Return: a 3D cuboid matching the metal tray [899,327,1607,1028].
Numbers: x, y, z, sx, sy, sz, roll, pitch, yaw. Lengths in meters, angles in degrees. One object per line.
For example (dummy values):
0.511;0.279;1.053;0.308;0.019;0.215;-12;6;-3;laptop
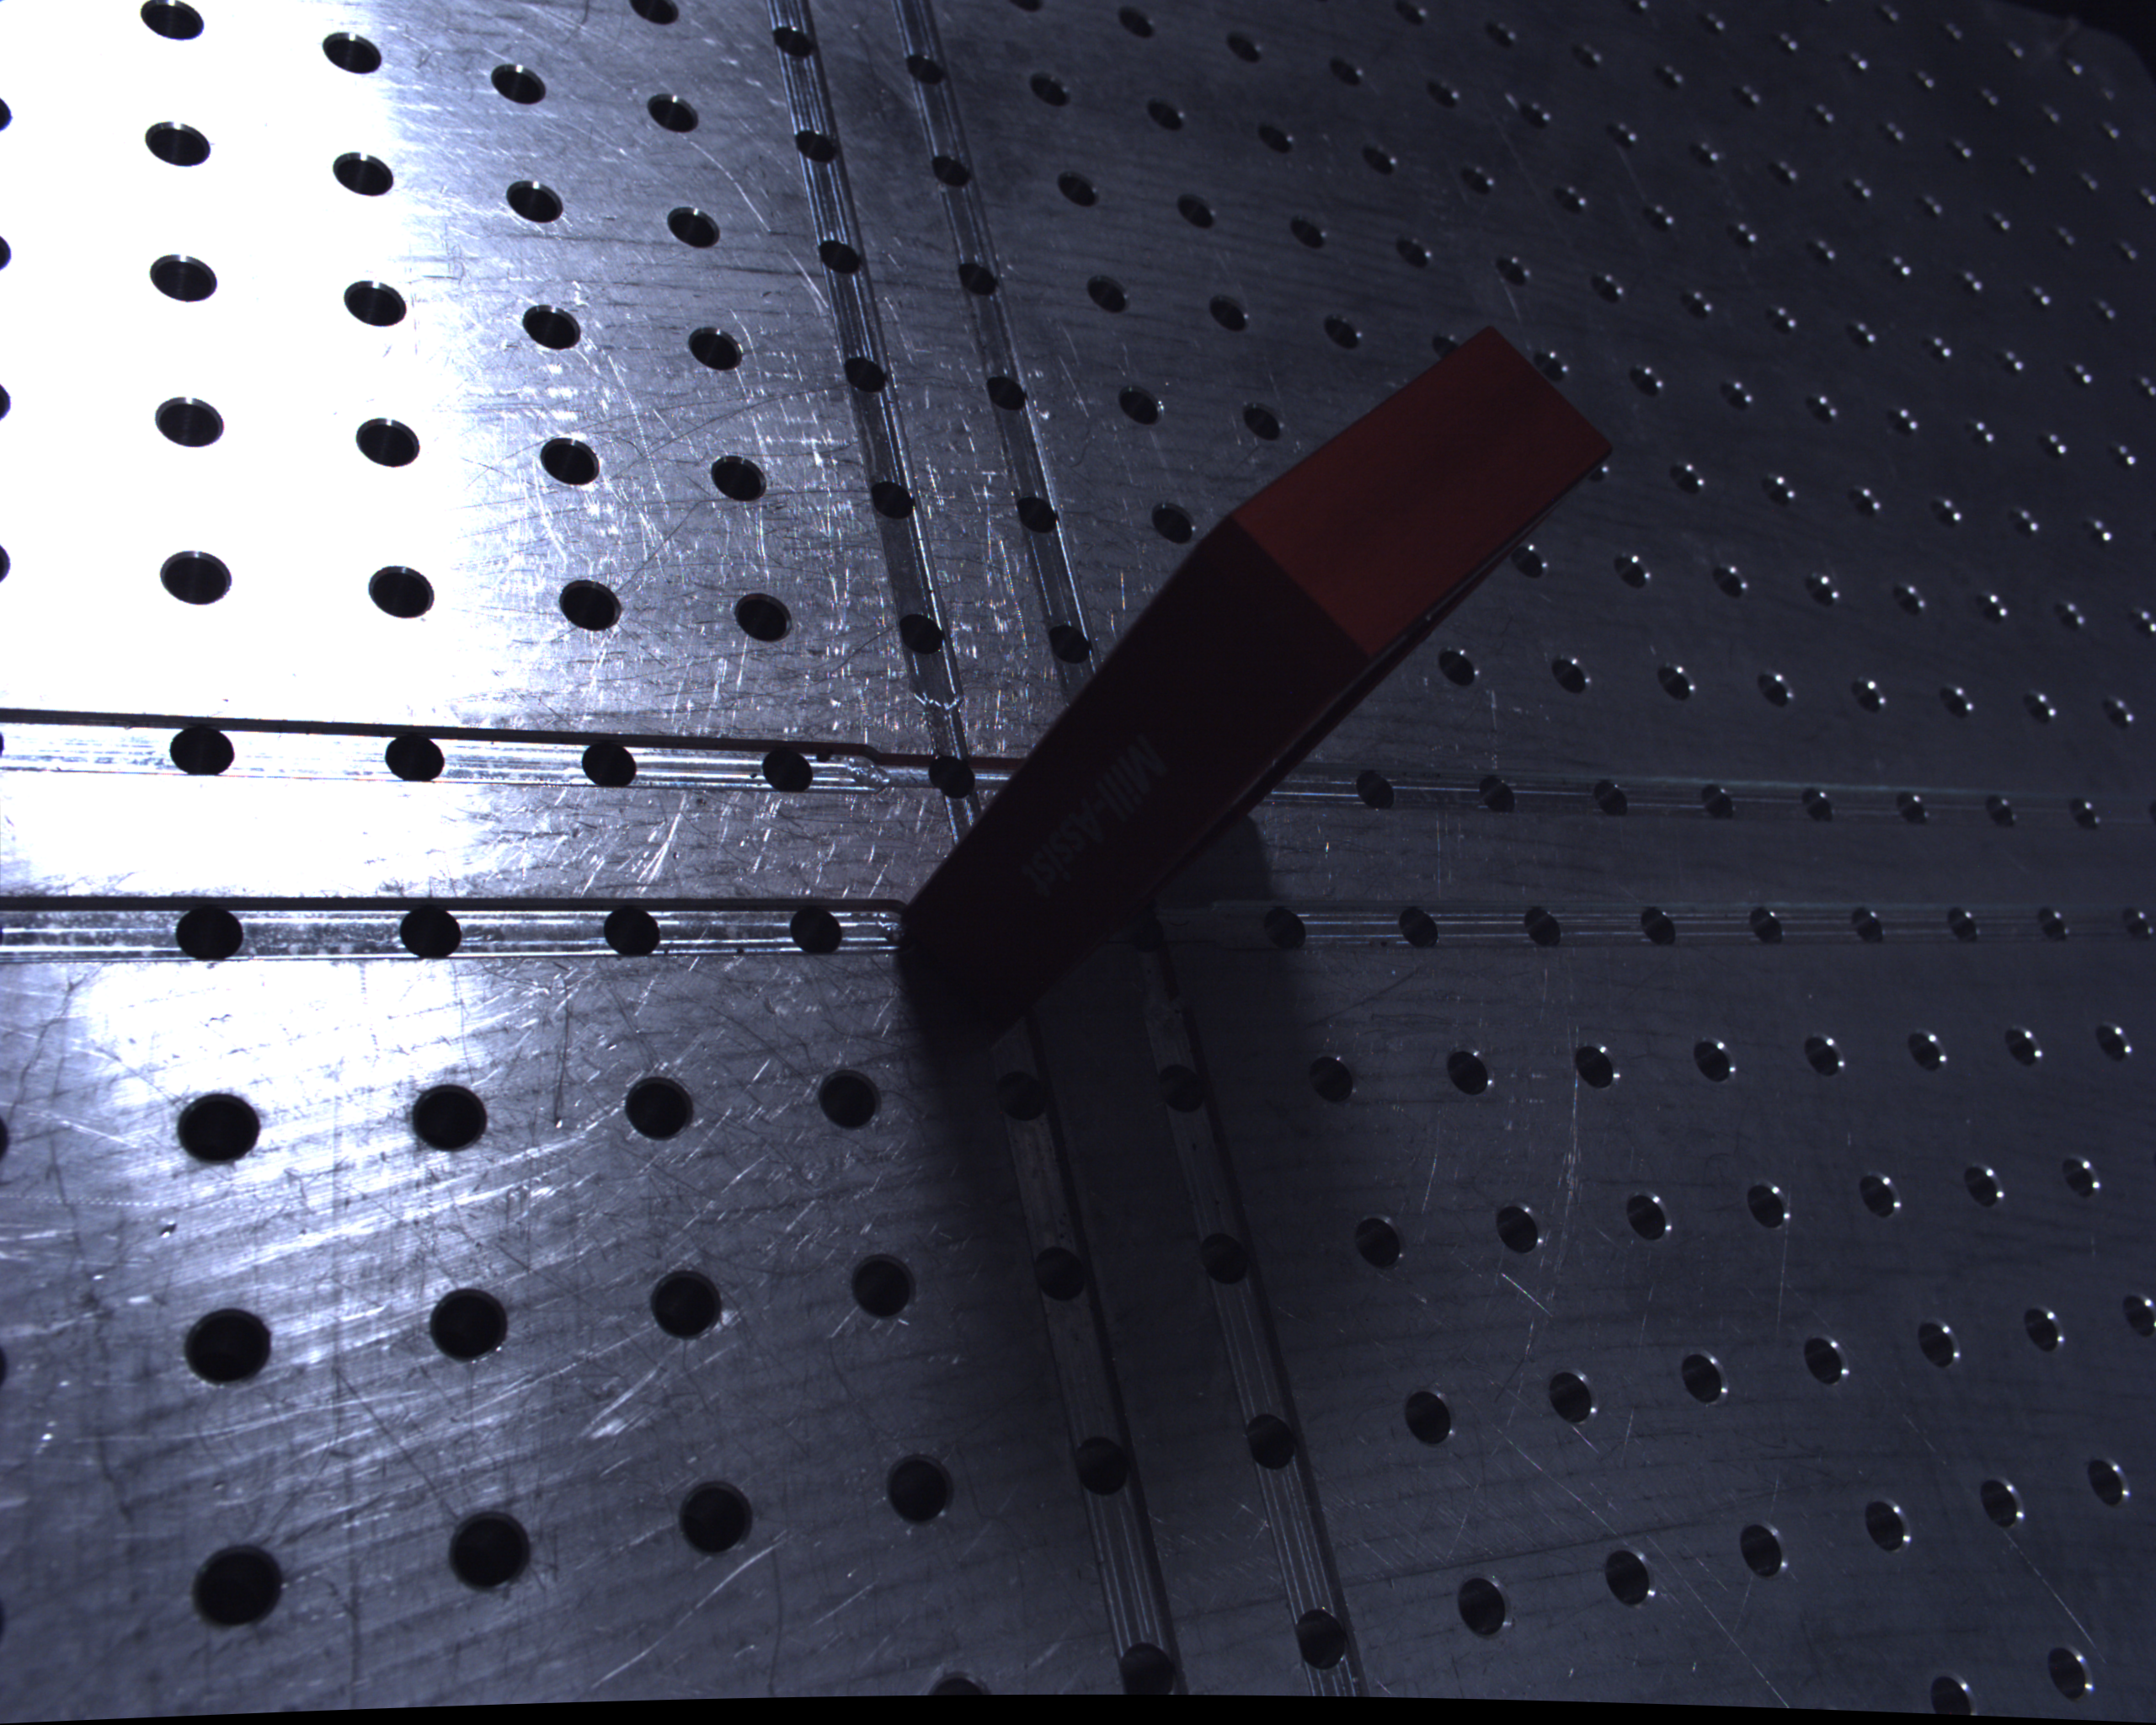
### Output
0.028;-0.030;0.375;0.030;0.129;0.091;47;51;4;metal tray
